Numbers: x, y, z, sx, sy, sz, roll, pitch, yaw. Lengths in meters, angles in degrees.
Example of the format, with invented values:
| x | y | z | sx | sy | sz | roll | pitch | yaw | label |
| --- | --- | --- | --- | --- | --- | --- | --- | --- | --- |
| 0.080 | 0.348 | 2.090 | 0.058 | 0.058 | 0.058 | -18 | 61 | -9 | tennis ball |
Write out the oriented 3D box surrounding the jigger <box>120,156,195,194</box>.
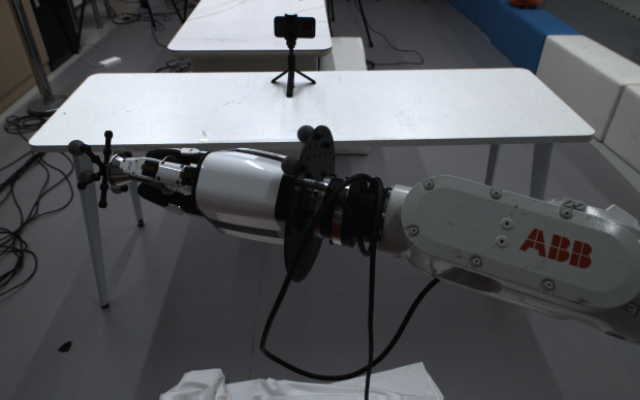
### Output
| x | y | z | sx | sy | sz | roll | pitch | yaw | label |
| --- | --- | --- | --- | --- | --- | --- | --- | --- | --- |
| -0.189 | -0.034 | 0.545 | 0.071 | 0.043 | 0.043 | 4 | 34 | 15 | jigger |
